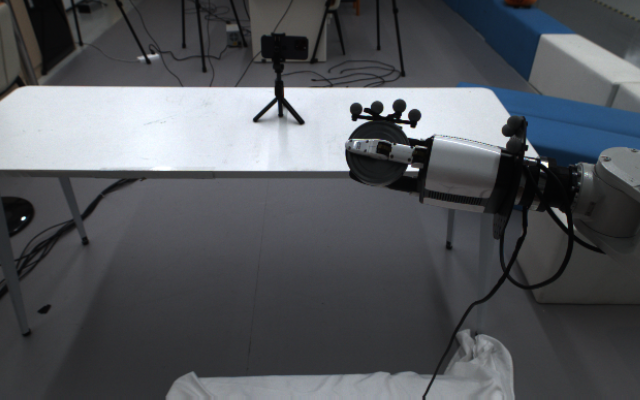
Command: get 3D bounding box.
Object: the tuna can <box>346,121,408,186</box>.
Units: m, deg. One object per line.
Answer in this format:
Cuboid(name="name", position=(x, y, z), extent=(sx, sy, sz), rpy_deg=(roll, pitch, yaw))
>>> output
Cuboid(name="tuna can", position=(0.079, -0.065, 0.652), extent=(0.085, 0.085, 0.034), rpy_deg=(11, -6, 12))
